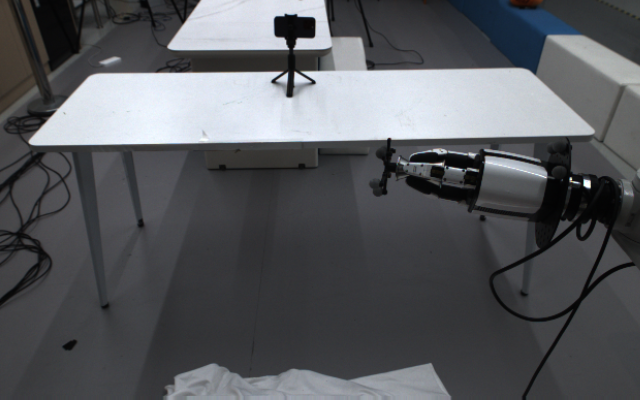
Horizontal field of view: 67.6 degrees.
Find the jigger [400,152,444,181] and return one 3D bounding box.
[{"bbox_3d":[0.156,-0.048,0.725,0.071,0.043,0.043,8,35,16],"label":"jigger"}]
